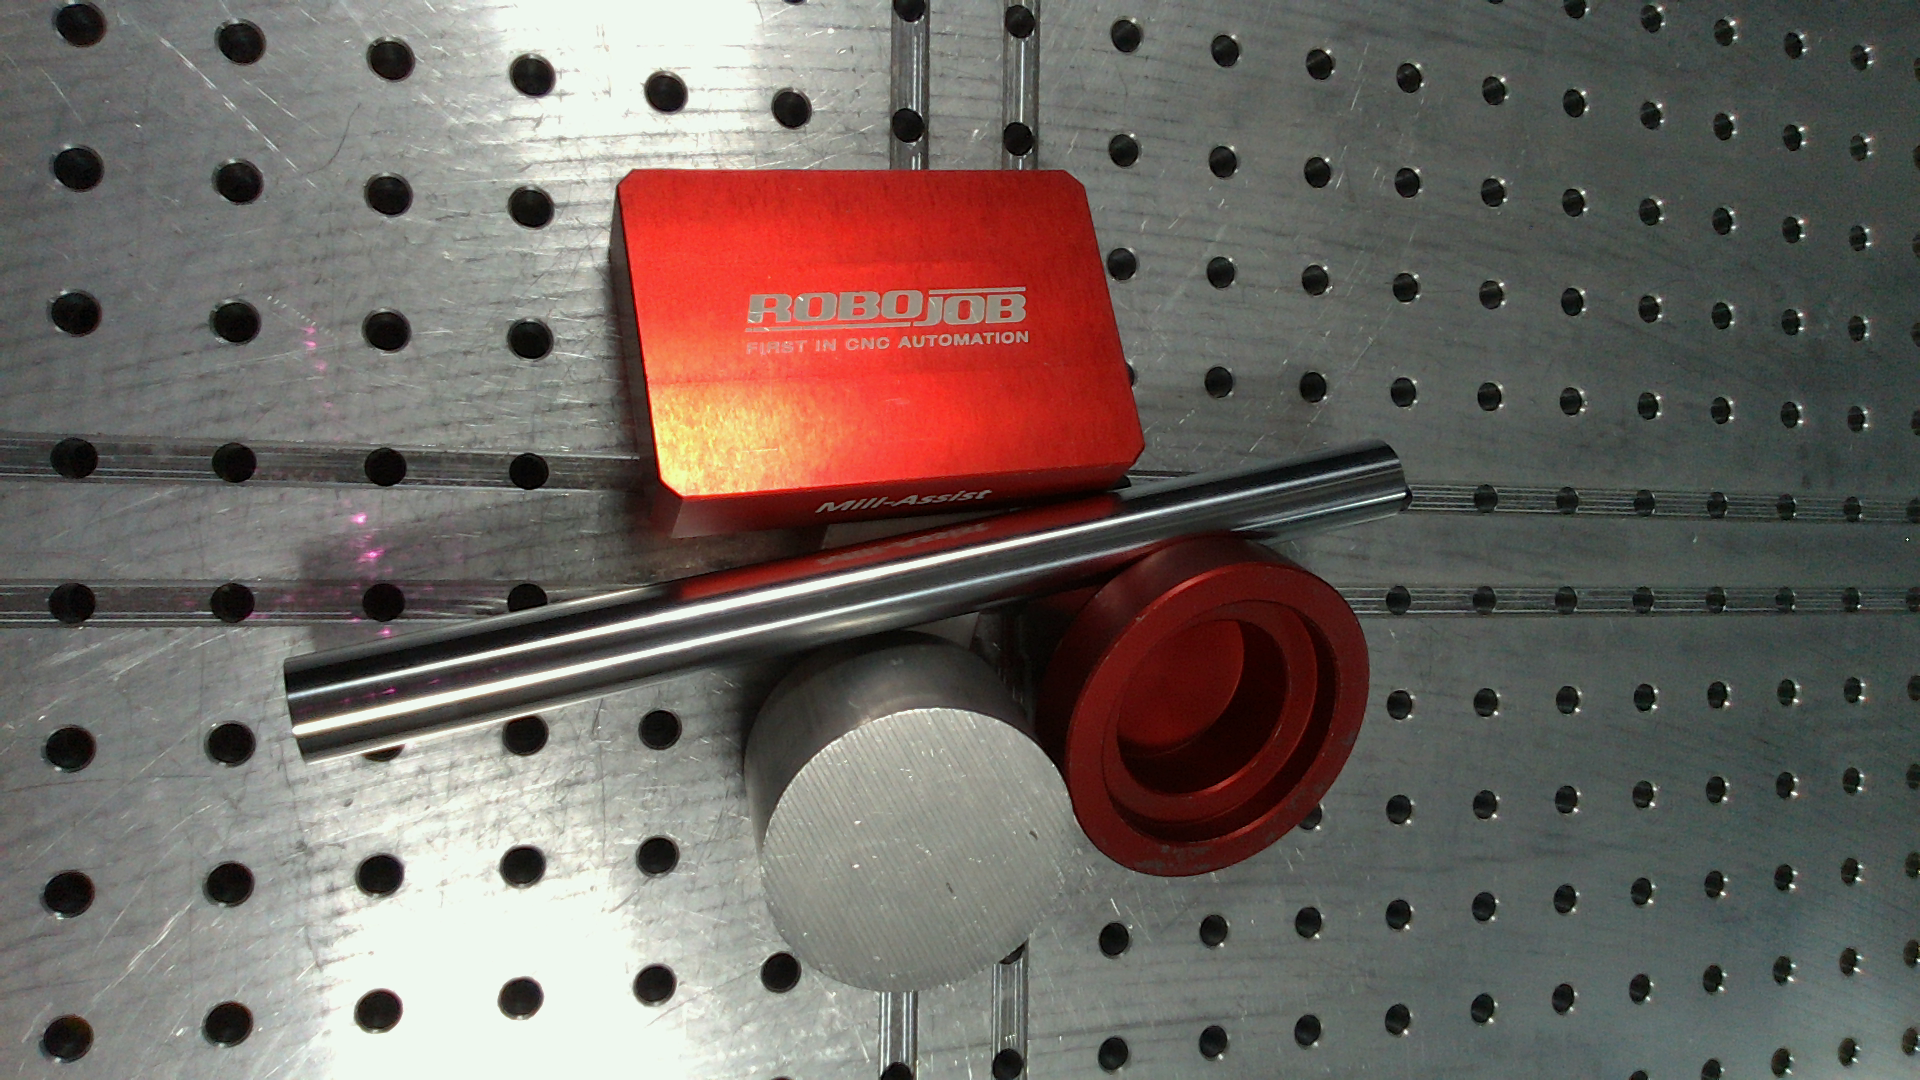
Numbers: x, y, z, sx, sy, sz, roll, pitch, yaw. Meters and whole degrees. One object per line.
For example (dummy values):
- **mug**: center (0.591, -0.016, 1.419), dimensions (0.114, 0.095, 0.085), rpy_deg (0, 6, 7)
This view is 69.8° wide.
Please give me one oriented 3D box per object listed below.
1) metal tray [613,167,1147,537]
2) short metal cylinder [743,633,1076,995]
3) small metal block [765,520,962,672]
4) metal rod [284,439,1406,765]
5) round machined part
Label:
- **metal tray**: center (-0.022, -0.053, 0.370), dimensions (0.130, 0.030, 0.090), rpy_deg (-5, 73, -20)
- **short metal cylinder**: center (-0.015, 0.071, 0.365), dimensions (0.080, 0.050, 0.080), rpy_deg (-5, 109, -13)
- **small metal block**: center (-0.026, 0.018, 0.395), dimensions (0.050, 0.025, 0.050), rpy_deg (19, 84, -19)
- **metal rod**: center (-0.012, 0.010, 0.364), dimensions (0.301, 0.025, 0.025), rpy_deg (-12, 94, -20)
- **round machined part**: center (0.066, 0.044, 0.399), dimensions (0.098, 0.042, 0.098), rpy_deg (-9, 115, -20)
